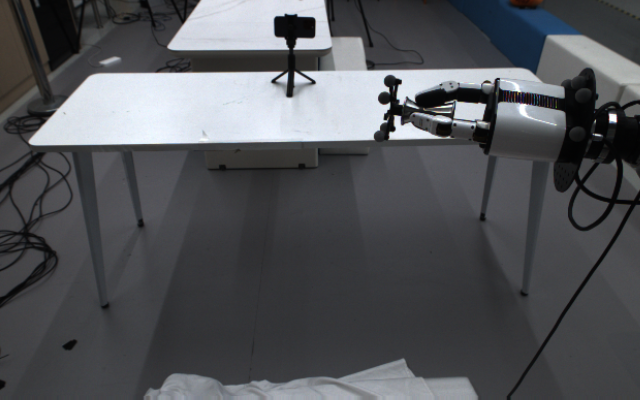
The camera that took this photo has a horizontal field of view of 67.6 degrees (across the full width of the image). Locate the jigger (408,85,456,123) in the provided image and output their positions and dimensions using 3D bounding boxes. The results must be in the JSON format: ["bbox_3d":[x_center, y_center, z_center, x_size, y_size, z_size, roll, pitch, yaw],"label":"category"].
[{"bbox_3d":[0.156,-0.122,0.672,0.071,0.043,0.043,11,36,15],"label":"jigger"}]
